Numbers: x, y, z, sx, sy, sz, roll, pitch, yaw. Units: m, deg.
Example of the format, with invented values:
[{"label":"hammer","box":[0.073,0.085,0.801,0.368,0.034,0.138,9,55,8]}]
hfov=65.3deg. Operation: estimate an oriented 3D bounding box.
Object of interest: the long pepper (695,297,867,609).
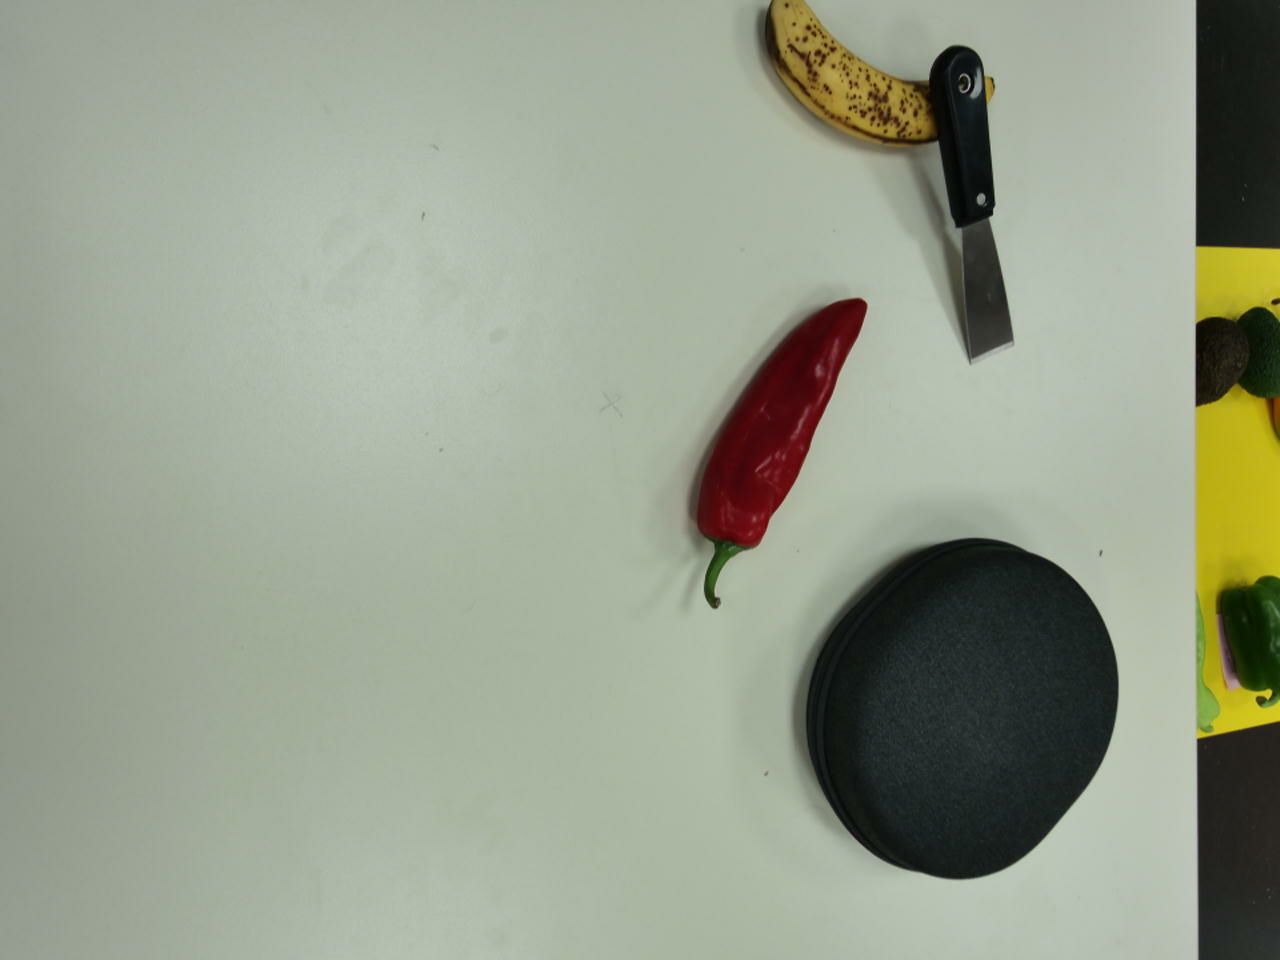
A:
[{"label":"long pepper","box":[0.076,-0.025,0.579,0.050,0.043,0.211,33,78,-19]}]
